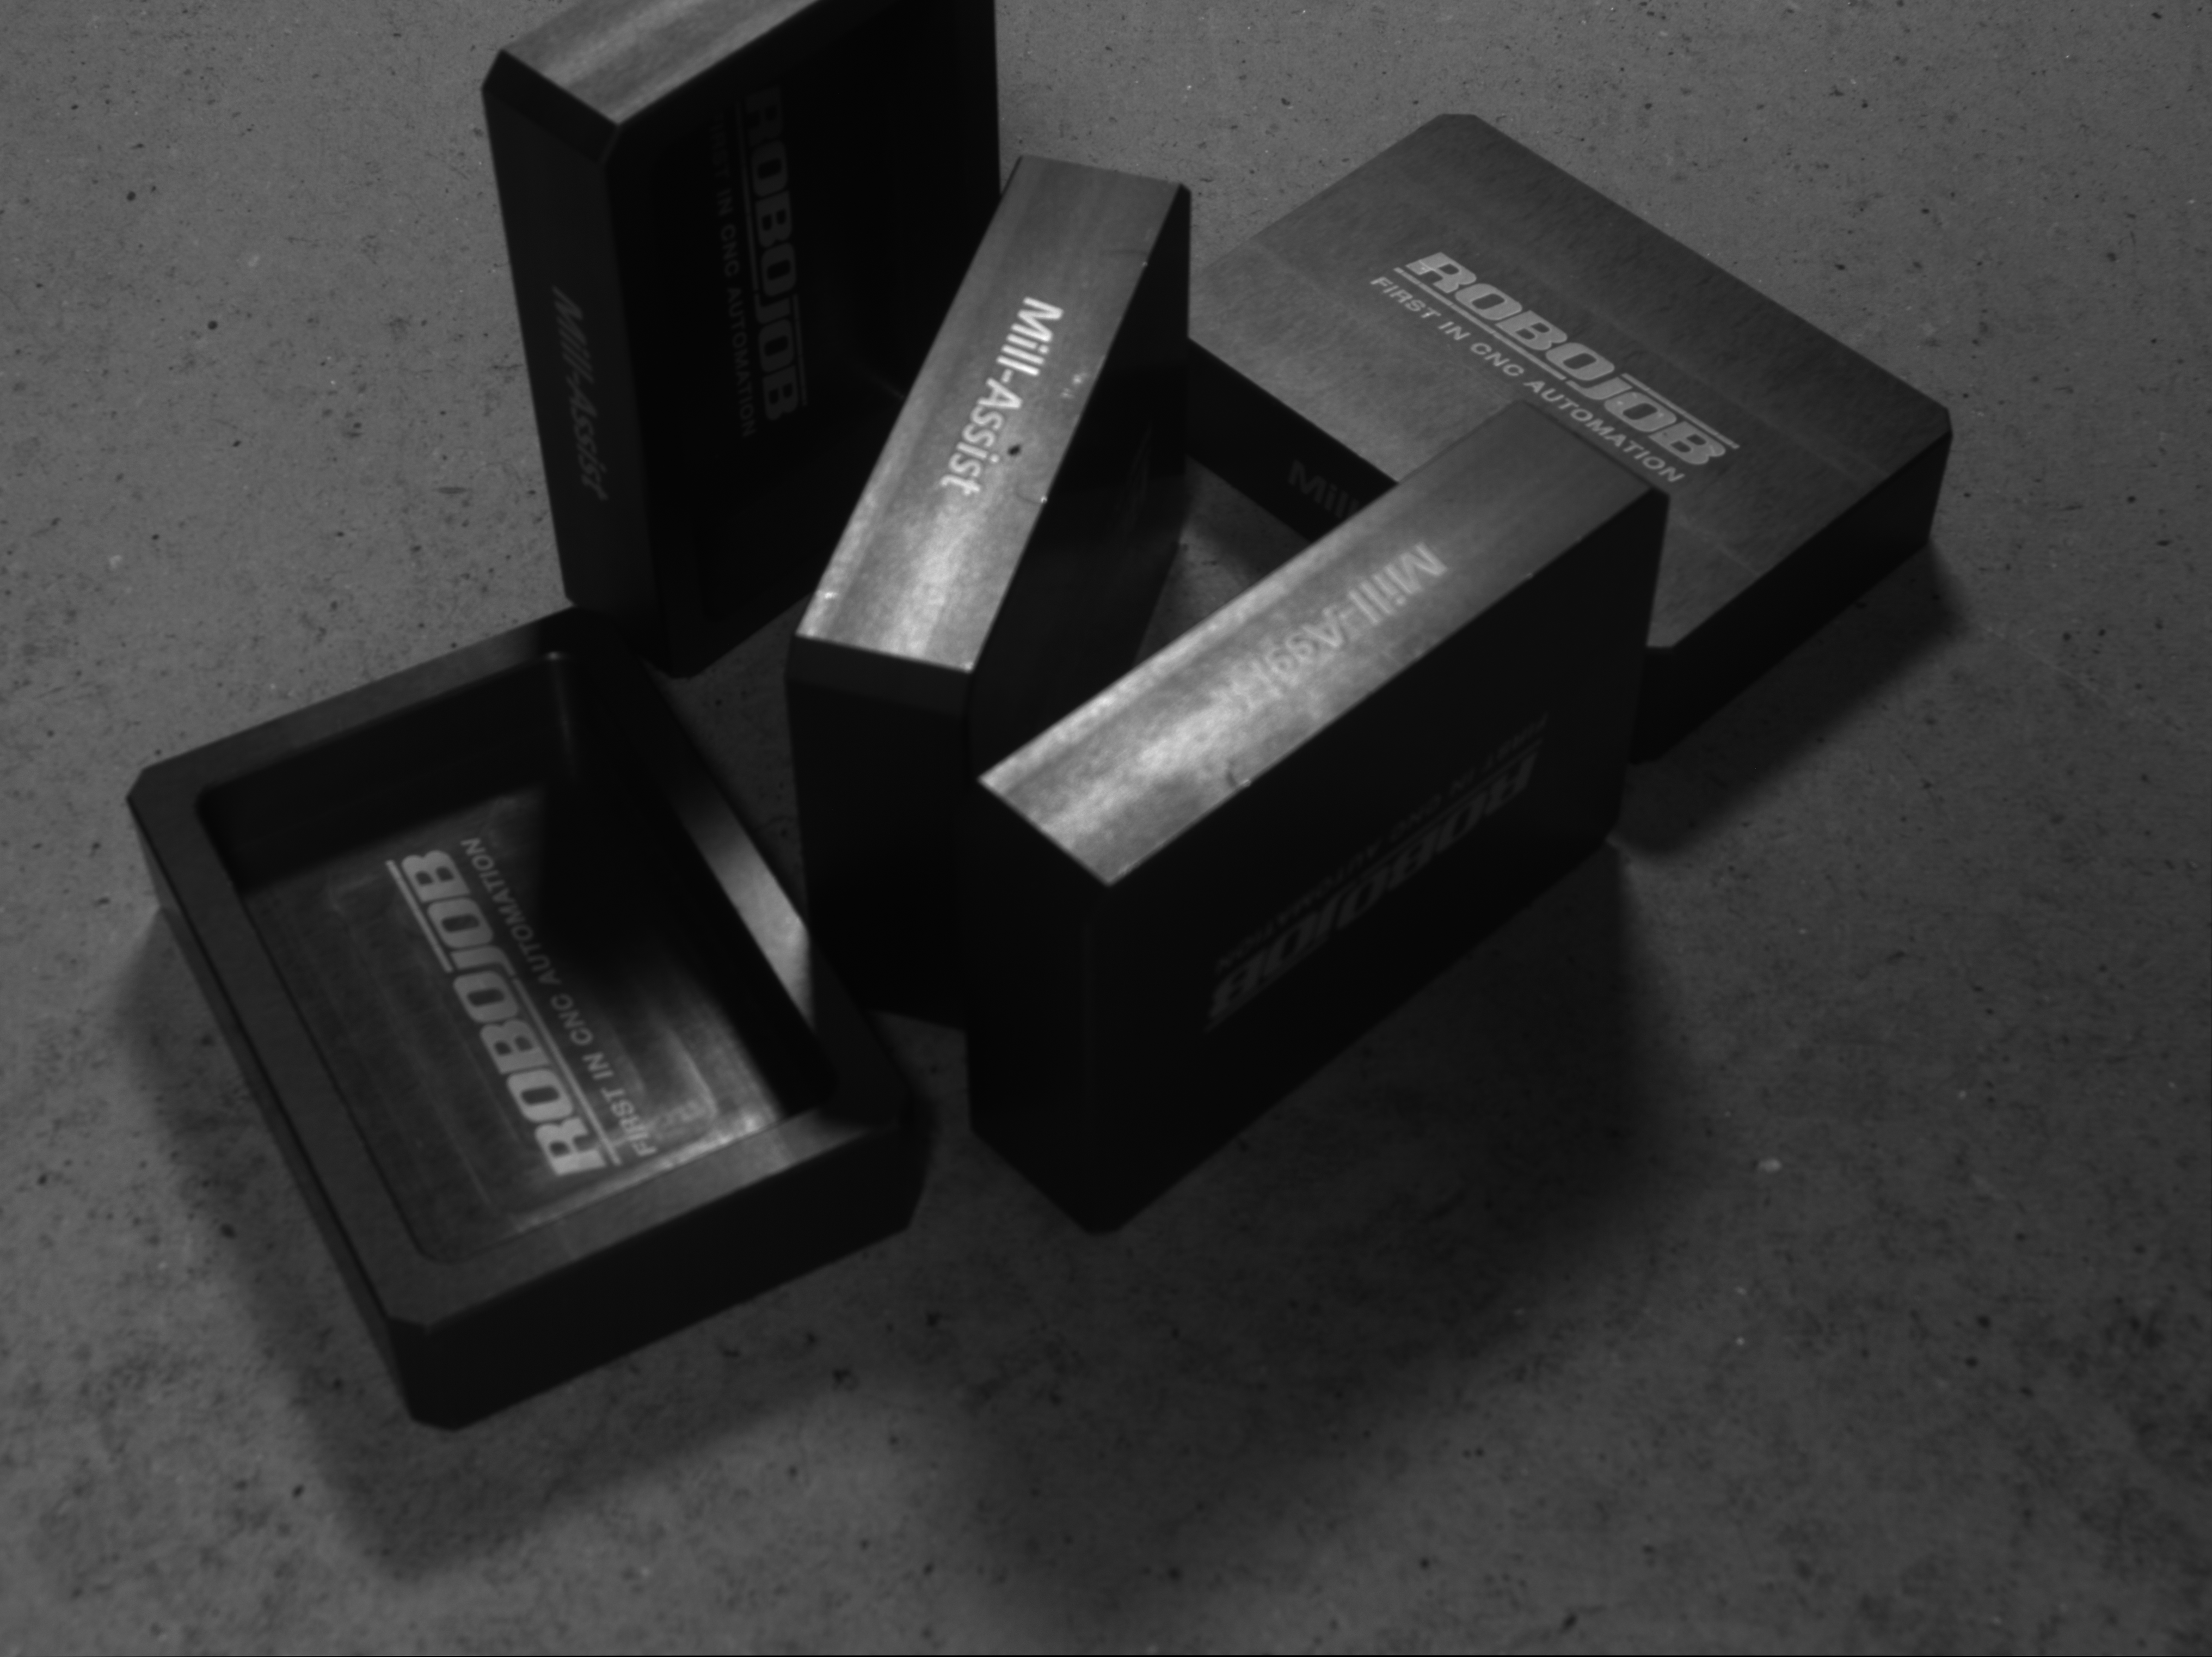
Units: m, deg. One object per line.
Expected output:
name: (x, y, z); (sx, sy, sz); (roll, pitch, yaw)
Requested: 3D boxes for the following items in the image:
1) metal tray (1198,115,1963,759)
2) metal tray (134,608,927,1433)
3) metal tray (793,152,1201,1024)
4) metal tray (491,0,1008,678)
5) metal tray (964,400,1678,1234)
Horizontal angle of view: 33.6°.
metal tray: (0.086, -0.079, 0.705); (0.090, 0.030, 0.130); (-37, 59, -27)
metal tray: (-0.097, 0.028, 0.615); (0.090, 0.030, 0.130); (-23, 53, -18)
metal tray: (-0.016, -0.042, 0.635); (0.030, 0.090, 0.130); (13, 51, 11)
metal tray: (-0.059, -0.100, 0.658); (0.030, 0.130, 0.090); (36, 58, 26)
metal tray: (0.036, -0.002, 0.601); (0.130, 0.090, 0.030); (-36, 58, -26)
